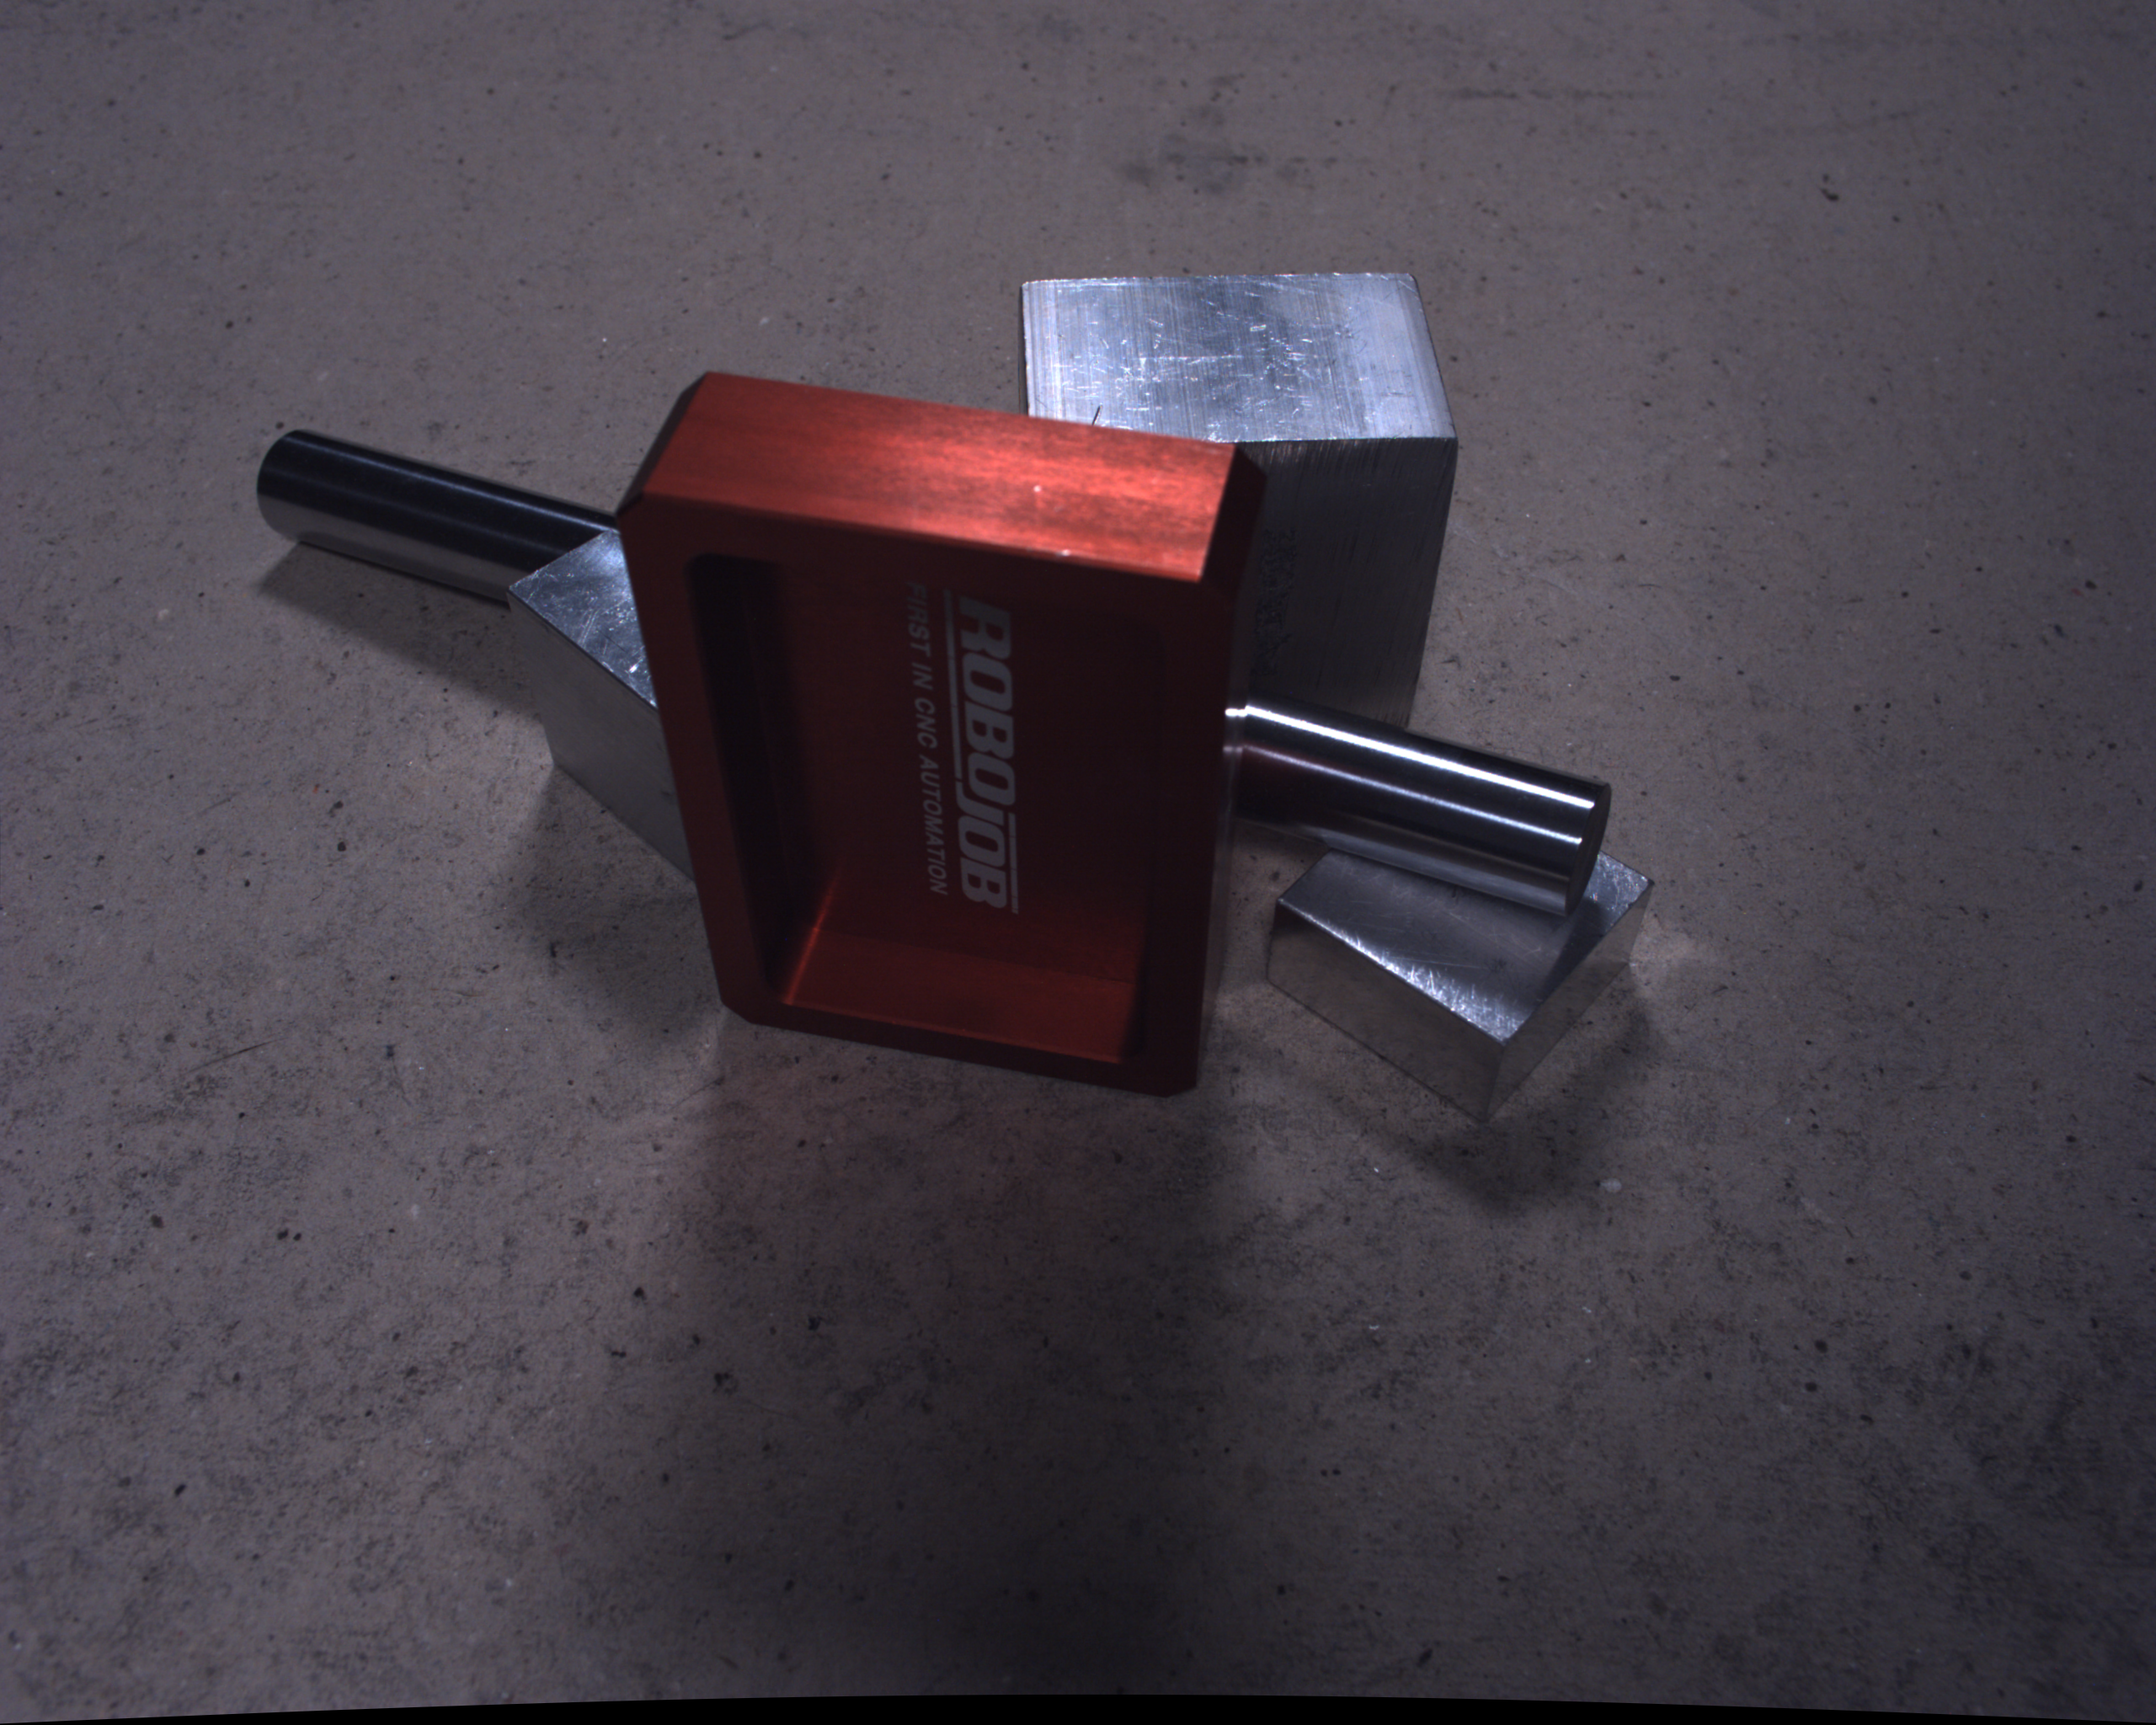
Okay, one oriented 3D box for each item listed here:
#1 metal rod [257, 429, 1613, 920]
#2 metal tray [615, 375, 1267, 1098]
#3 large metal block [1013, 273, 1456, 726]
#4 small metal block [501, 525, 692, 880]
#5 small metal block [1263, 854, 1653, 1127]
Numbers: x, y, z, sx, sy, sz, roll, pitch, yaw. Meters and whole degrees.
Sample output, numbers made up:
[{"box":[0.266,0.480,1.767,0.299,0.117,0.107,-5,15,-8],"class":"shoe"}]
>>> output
[{"box":[-0.043,-0.044,0.423,0.301,0.025,0.025,17,52,20],"class":"metal rod"},{"box":[-0.019,-0.015,0.349,0.090,0.129,0.030,9,51,8],"class":"metal tray"},{"box":[0.028,-0.072,0.428,0.081,0.080,0.050,-2,50,-2],"class":"large metal block"},{"box":[-0.083,-0.030,0.412,0.050,0.050,0.025,37,59,26],"class":"small metal block"},{"box":[0.071,0.013,0.395,0.050,0.025,0.050,34,58,25],"class":"small metal block"}]
